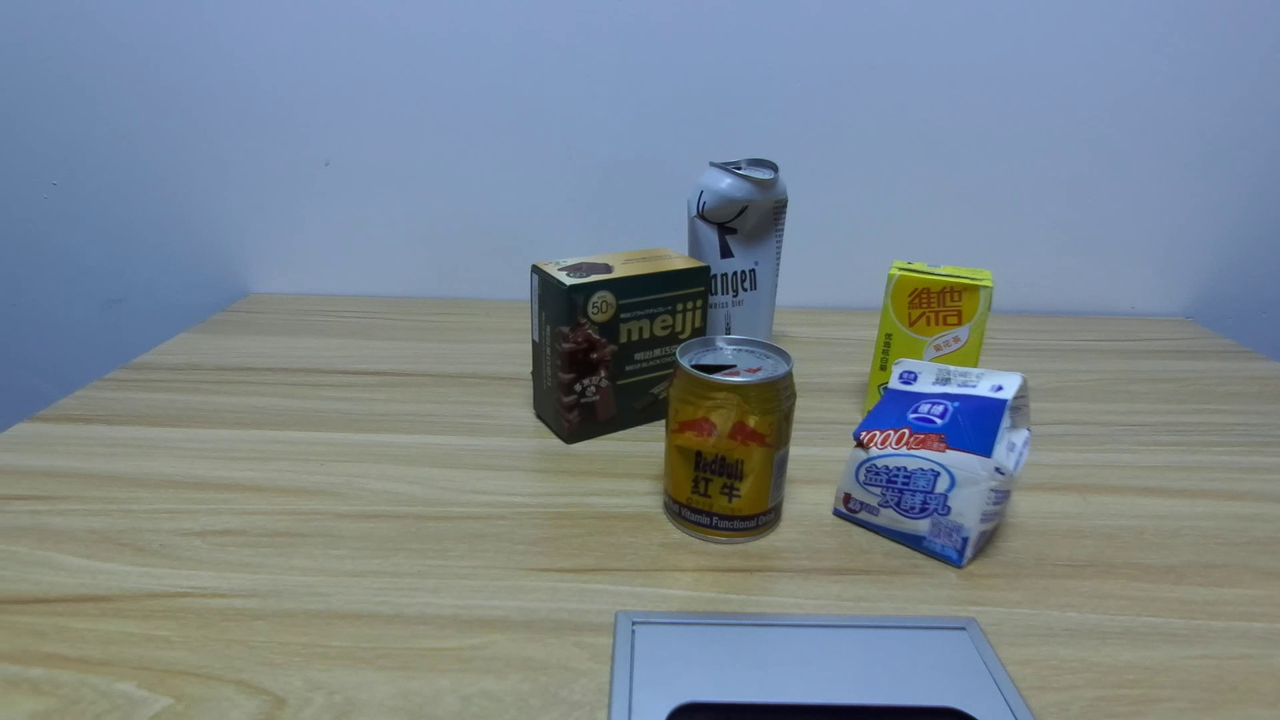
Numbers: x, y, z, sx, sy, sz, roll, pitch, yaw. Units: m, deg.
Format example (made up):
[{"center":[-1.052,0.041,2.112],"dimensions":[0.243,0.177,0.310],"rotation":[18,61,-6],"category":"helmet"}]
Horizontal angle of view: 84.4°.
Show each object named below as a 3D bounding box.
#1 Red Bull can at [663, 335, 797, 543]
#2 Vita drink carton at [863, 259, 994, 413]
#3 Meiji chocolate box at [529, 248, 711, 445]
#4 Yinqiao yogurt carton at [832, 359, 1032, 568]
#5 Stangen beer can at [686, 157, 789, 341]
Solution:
[{"center":[0.046,0.040,0.373],"dimensions":[0.069,0.092,0.069],"rotation":[2,23,0],"category":"Red Bull can"},{"center":[0.194,-0.007,0.479],"dimensions":[0.066,0.109,0.043],"rotation":[10,19,17],"category":"Vita drink carton"},{"center":[-0.013,-0.012,0.478],"dimensions":[0.110,0.109,0.056],"rotation":[-12,26,-30],"category":"Meiji chocolate box"},{"center":[0.159,0.043,0.372],"dimensions":[0.083,0.093,0.077],"rotation":[20,29,37],"category":"Yinqiao yogurt carton"},{"center":[0.074,-0.072,0.553],"dimensions":[0.065,0.162,0.077],"rotation":[9,25,18],"category":"Stangen beer can"}]
